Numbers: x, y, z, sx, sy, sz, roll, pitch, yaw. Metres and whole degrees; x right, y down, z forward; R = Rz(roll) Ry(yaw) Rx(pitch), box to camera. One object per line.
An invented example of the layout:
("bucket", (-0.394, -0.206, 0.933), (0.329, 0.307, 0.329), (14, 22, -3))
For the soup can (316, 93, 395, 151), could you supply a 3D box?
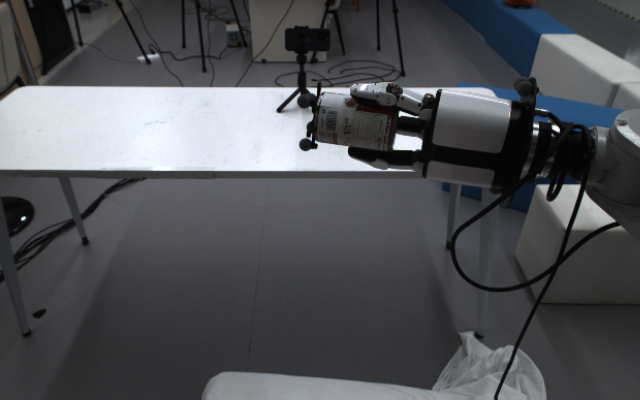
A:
("soup can", (0.051, -0.103, 0.632), (0.101, 0.067, 0.067), (9, 35, 9))
